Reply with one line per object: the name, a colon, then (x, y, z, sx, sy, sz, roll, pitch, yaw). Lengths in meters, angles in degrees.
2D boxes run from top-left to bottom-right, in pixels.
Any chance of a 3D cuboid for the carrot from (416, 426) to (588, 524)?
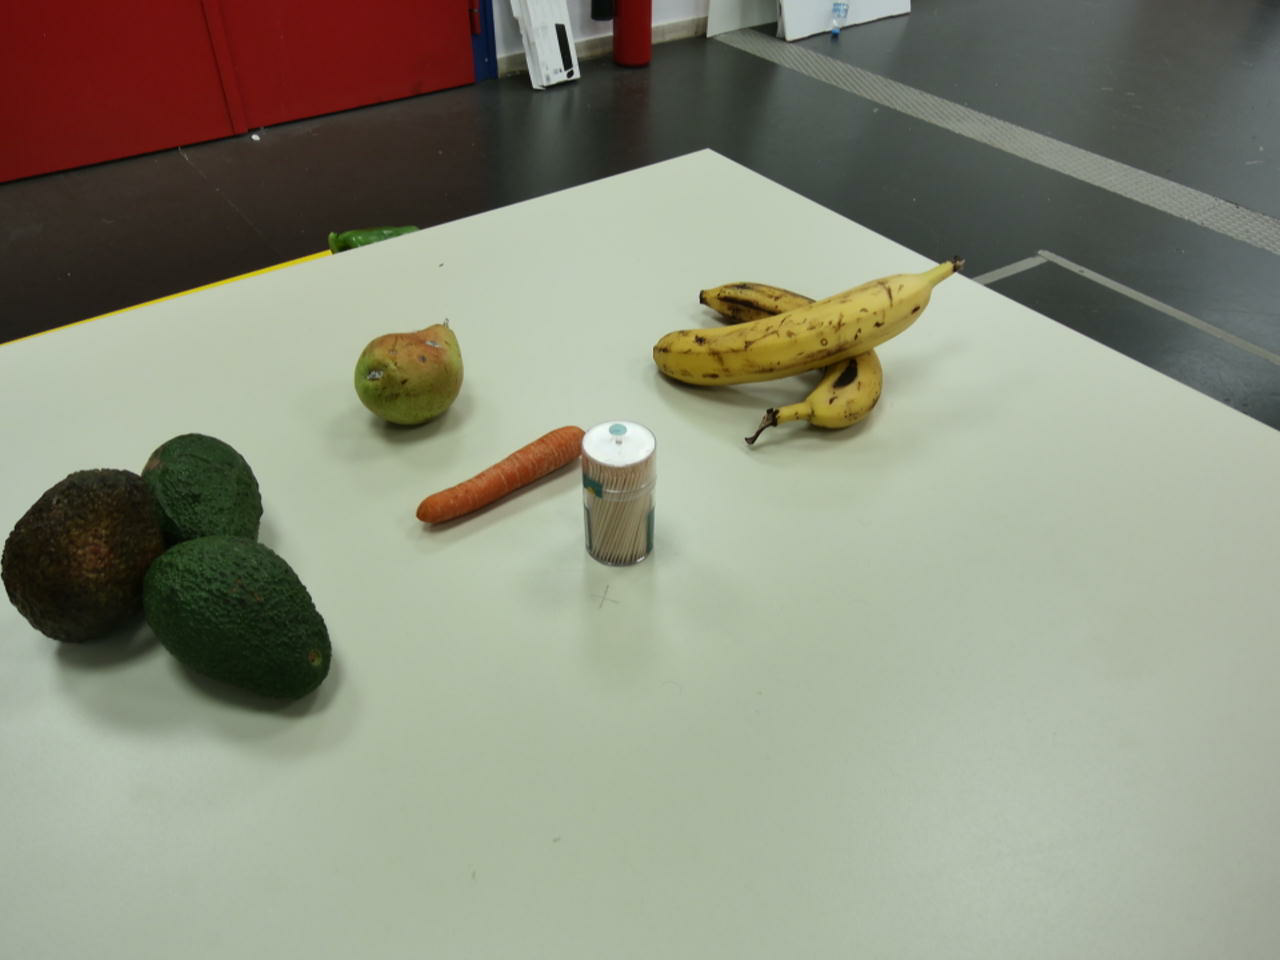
carrot: (-0.082, -0.004, 0.609, 0.122, 0.023, 0.024, -27, 46, -30)
